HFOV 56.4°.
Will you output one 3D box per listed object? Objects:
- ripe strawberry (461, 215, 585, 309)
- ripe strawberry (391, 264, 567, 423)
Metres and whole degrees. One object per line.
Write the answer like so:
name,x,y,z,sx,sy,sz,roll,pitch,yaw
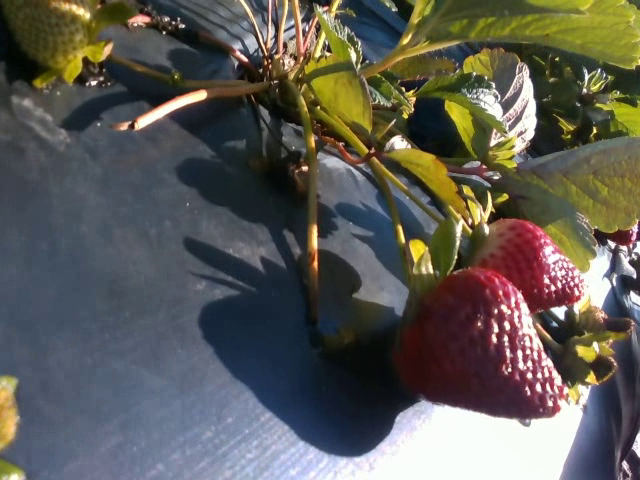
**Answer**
ripe strawberry,0.080,0.012,0.228,0.049,0.042,0.039,22,-25,6
ripe strawberry,0.047,0.032,0.165,0.050,0.045,0.050,34,11,26
